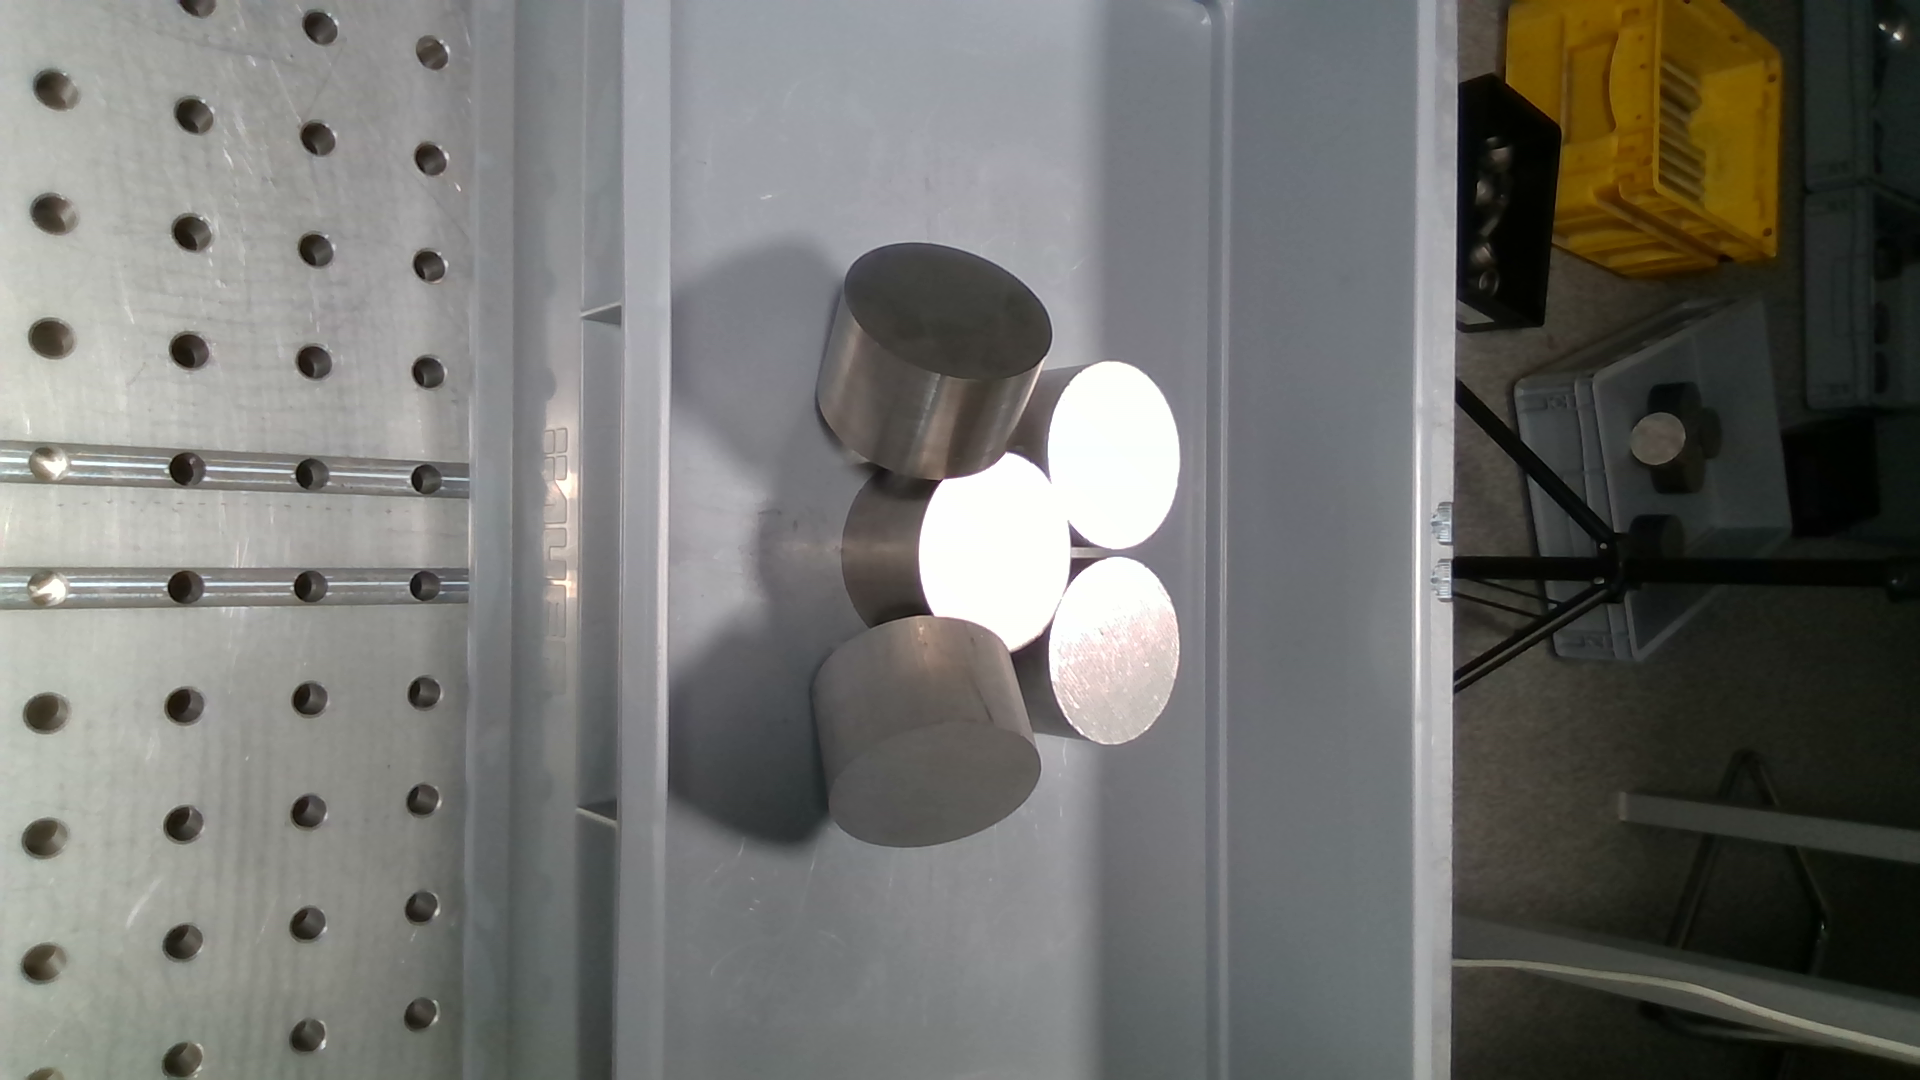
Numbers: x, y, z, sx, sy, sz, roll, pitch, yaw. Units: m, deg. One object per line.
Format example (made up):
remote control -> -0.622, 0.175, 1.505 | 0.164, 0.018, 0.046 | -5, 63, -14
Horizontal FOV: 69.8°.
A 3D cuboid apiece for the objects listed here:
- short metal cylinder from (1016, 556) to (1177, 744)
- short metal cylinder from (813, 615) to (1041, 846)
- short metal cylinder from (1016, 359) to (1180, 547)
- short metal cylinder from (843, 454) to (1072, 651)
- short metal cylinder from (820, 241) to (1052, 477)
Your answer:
short metal cylinder -> 0.051, 0.047, 0.608 | 0.080, 0.050, 0.080 | 0, 90, -40
short metal cylinder -> -0.014, 0.074, 0.526 | 0.080, 0.080, 0.050 | 26, 34, -37
short metal cylinder -> 0.051, -0.037, 0.607 | 0.080, 0.050, 0.080 | 0, 90, -40
short metal cylinder -> -0.001, 0.005, 0.563 | 0.080, 0.050, 0.080 | 0, 90, -40
short metal cylinder -> -0.011, -0.070, 0.529 | 0.080, 0.080, 0.050 | -25, 150, -37
